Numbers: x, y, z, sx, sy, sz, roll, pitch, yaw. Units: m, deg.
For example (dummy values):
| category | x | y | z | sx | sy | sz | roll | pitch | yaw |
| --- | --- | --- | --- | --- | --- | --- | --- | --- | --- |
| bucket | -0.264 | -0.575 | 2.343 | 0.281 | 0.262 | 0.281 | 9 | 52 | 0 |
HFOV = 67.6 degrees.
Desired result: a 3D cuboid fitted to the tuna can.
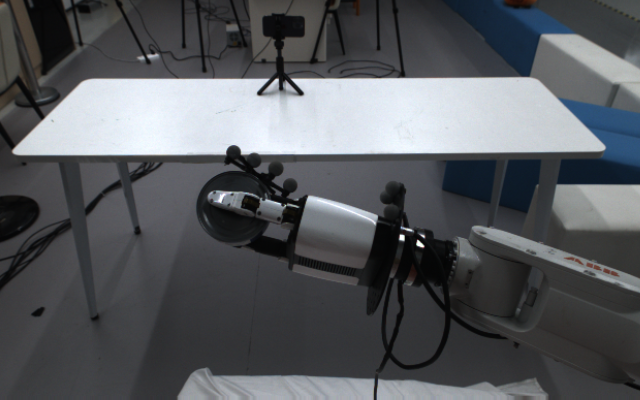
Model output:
| category | x | y | z | sx | sy | sz | roll | pitch | yaw |
| --- | --- | --- | --- | --- | --- | --- | --- | --- | --- |
| tuna can | -0.098 | 0.011 | 0.570 | 0.085 | 0.034 | 0.085 | 1 | 75 | -4 |
